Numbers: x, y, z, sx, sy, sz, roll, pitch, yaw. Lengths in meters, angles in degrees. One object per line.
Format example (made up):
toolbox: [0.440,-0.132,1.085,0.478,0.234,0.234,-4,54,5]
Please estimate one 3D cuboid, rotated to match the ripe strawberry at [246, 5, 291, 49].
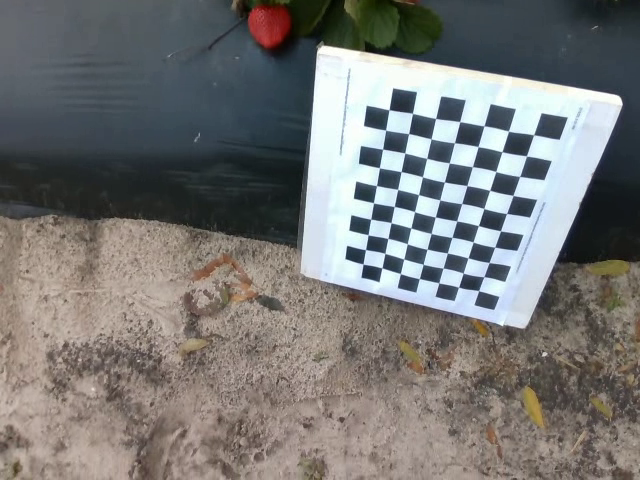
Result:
ripe strawberry: [-0.044,-0.176,0.539,0.037,0.046,0.037,-25,-26,39]
